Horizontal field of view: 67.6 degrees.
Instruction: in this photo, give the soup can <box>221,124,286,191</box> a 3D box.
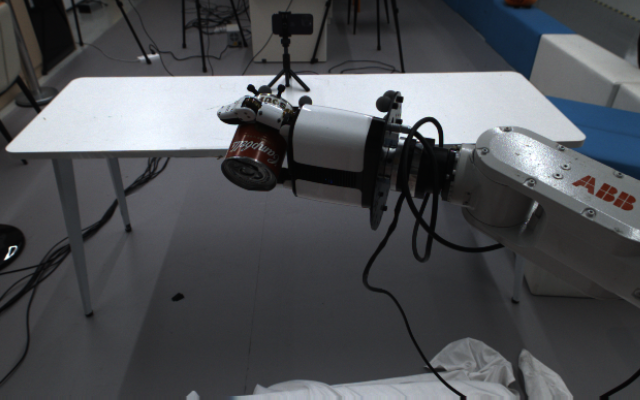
[{"bbox_3d":[-0.071,-0.070,0.585,0.067,0.067,0.101,9,58,10],"label":"soup can"}]
